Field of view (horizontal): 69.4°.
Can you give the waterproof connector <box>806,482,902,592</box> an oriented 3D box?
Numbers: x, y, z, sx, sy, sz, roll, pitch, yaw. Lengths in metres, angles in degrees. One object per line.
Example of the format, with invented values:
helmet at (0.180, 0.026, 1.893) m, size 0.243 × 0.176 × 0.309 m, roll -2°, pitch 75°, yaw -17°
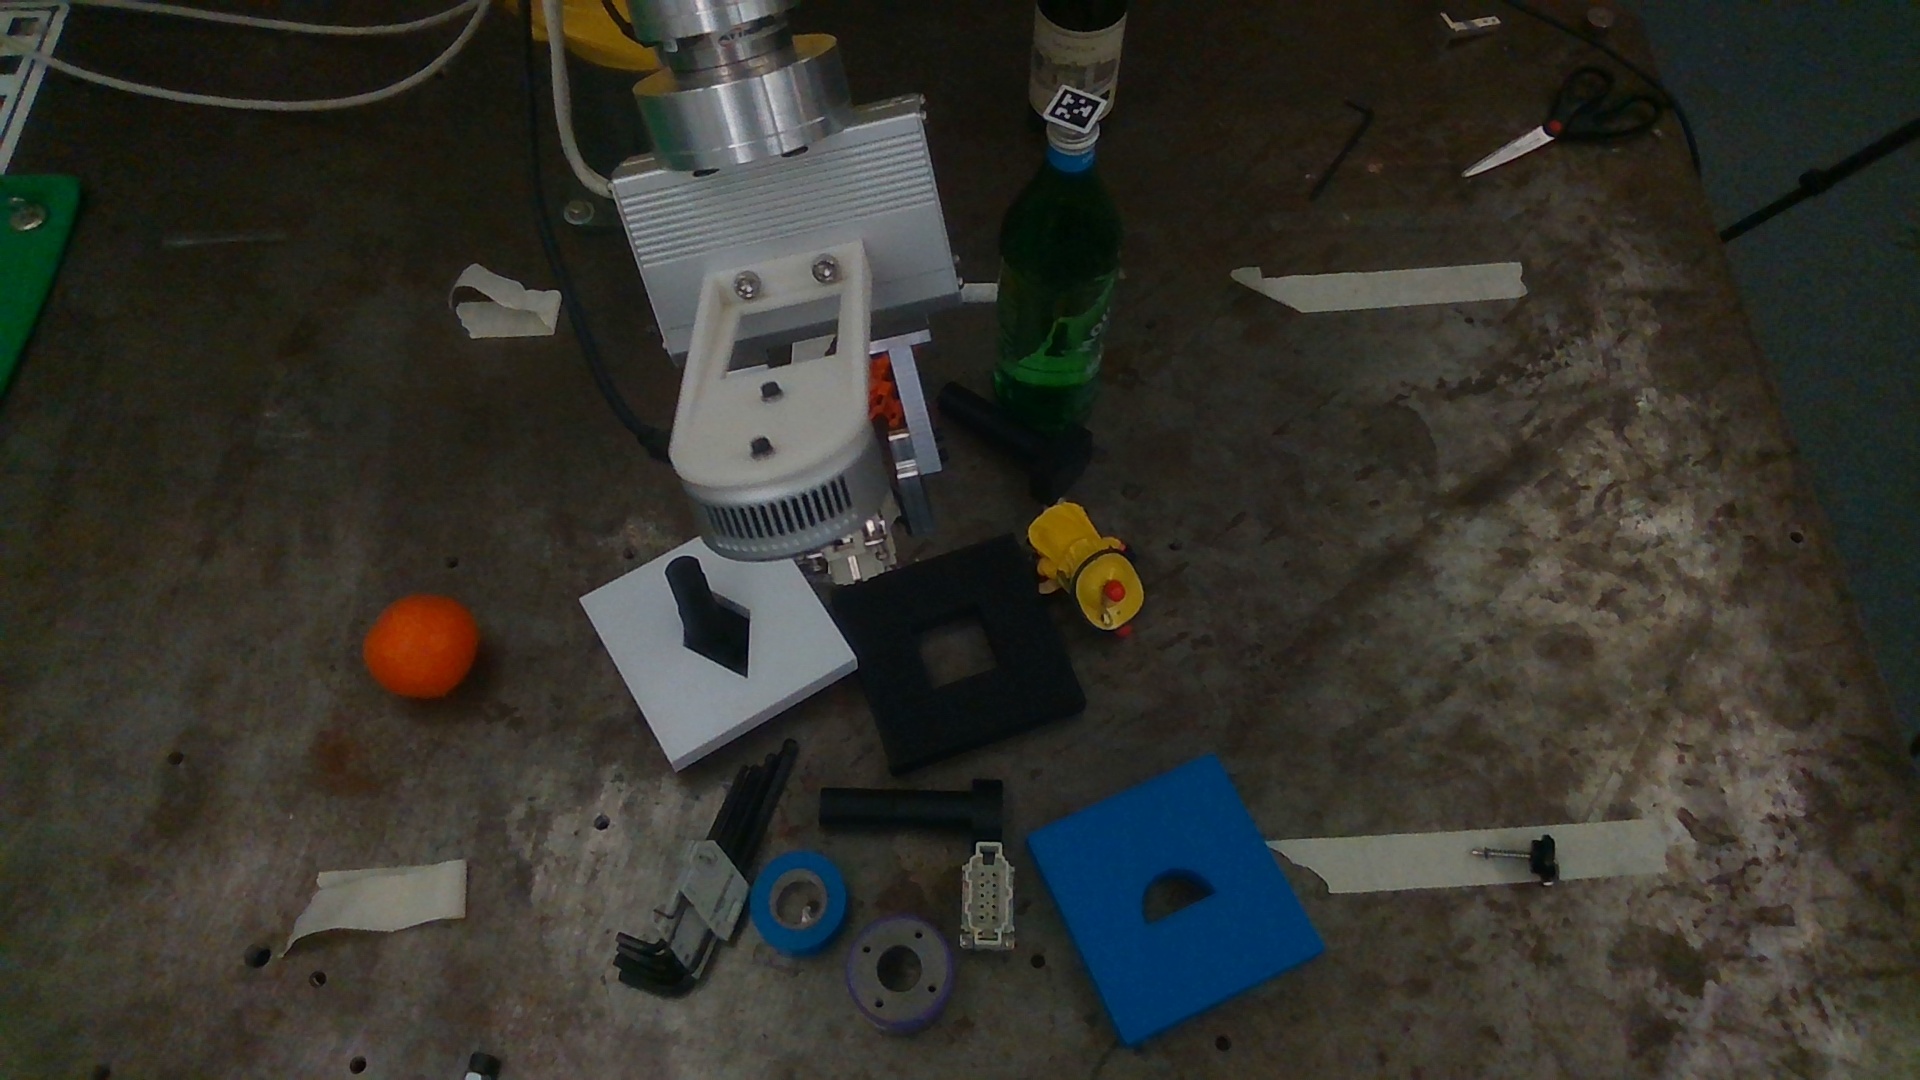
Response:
waterproof connector at (-0.047, -0.001, 0.630) m, size 0.037 × 0.069 × 0.038 m, roll -13°, pitch 102°, yaw 5°
